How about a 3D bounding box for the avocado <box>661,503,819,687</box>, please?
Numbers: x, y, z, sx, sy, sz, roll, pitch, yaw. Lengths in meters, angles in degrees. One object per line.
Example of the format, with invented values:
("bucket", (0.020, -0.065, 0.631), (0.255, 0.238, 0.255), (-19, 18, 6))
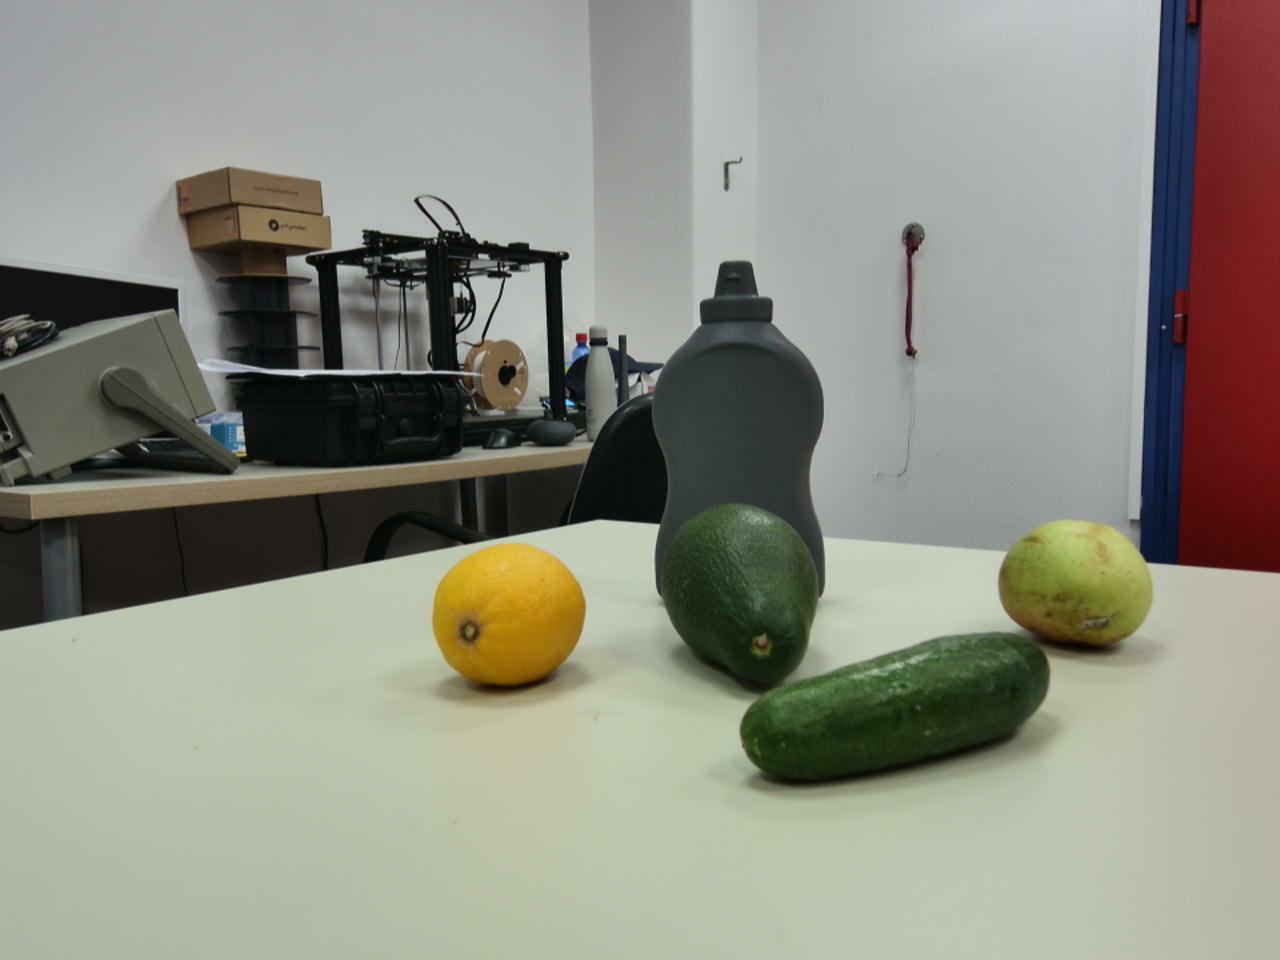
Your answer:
("avocado", (0.042, 0.048, 0.444), (0.073, 0.071, 0.109), (1, 3, 15))
